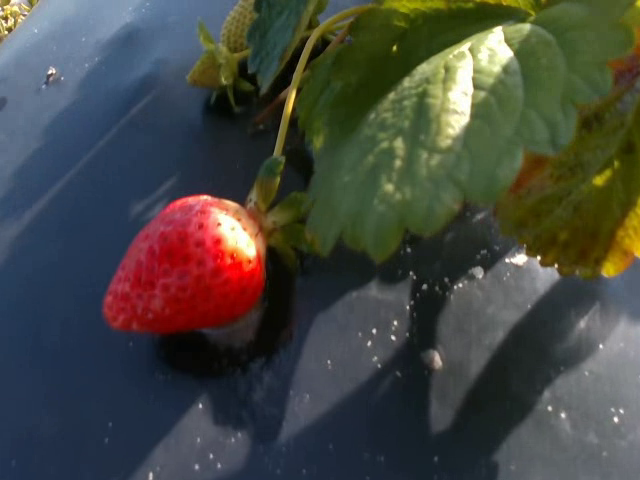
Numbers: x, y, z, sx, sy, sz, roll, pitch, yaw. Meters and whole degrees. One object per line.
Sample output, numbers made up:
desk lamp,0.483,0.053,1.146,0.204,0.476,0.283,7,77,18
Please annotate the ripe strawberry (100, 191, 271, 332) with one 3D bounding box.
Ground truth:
ripe strawberry,-0.030,0.009,0.135,0.044,0.033,0.030,-30,13,-8
